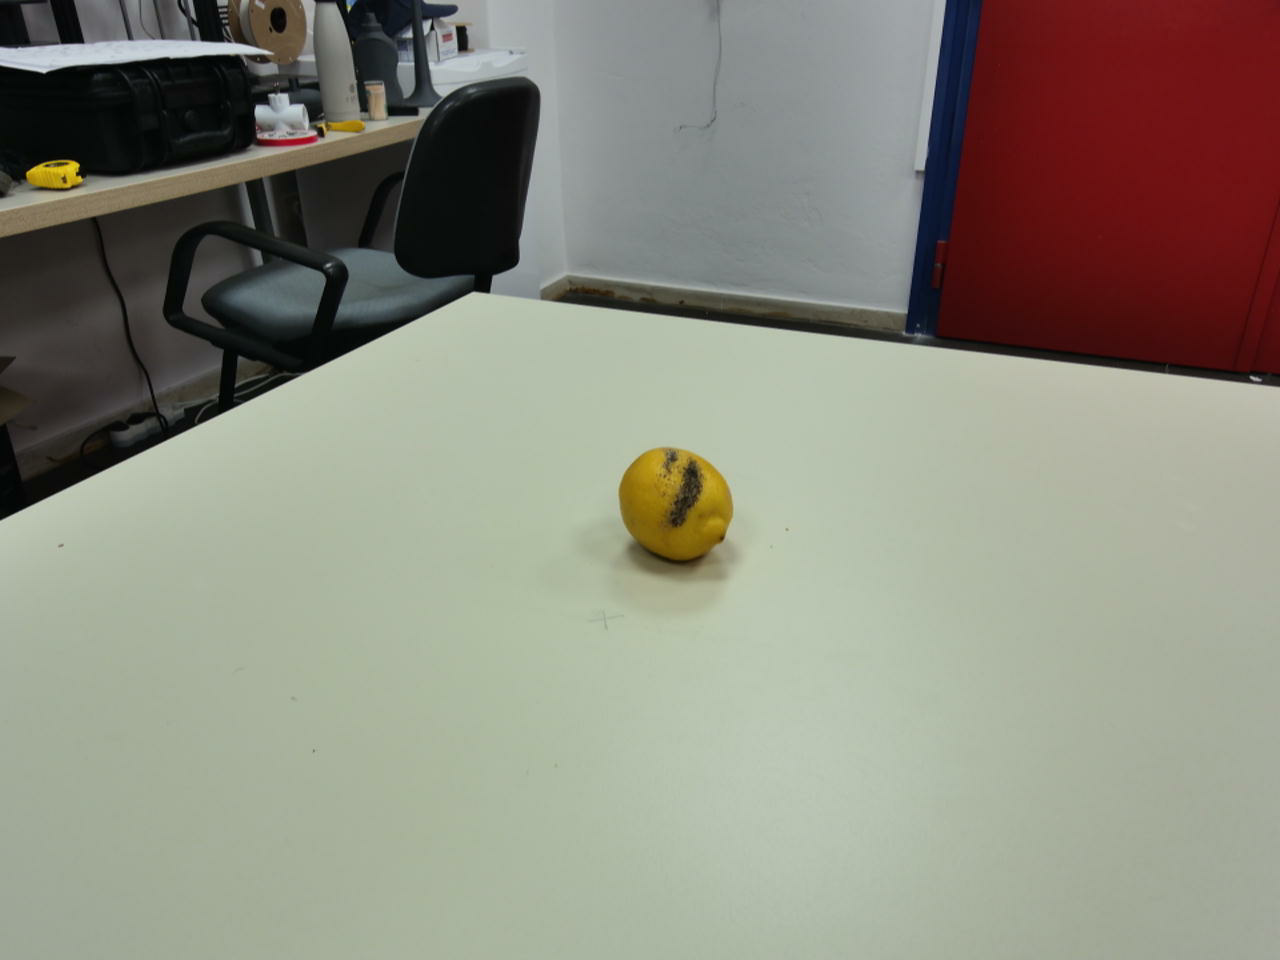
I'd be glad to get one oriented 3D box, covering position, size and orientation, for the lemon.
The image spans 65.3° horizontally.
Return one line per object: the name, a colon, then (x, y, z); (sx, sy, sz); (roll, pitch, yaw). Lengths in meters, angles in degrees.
lemon: (0.019, 0.013, 0.524); (0.061, 0.056, 0.058); (8, 26, 15)
